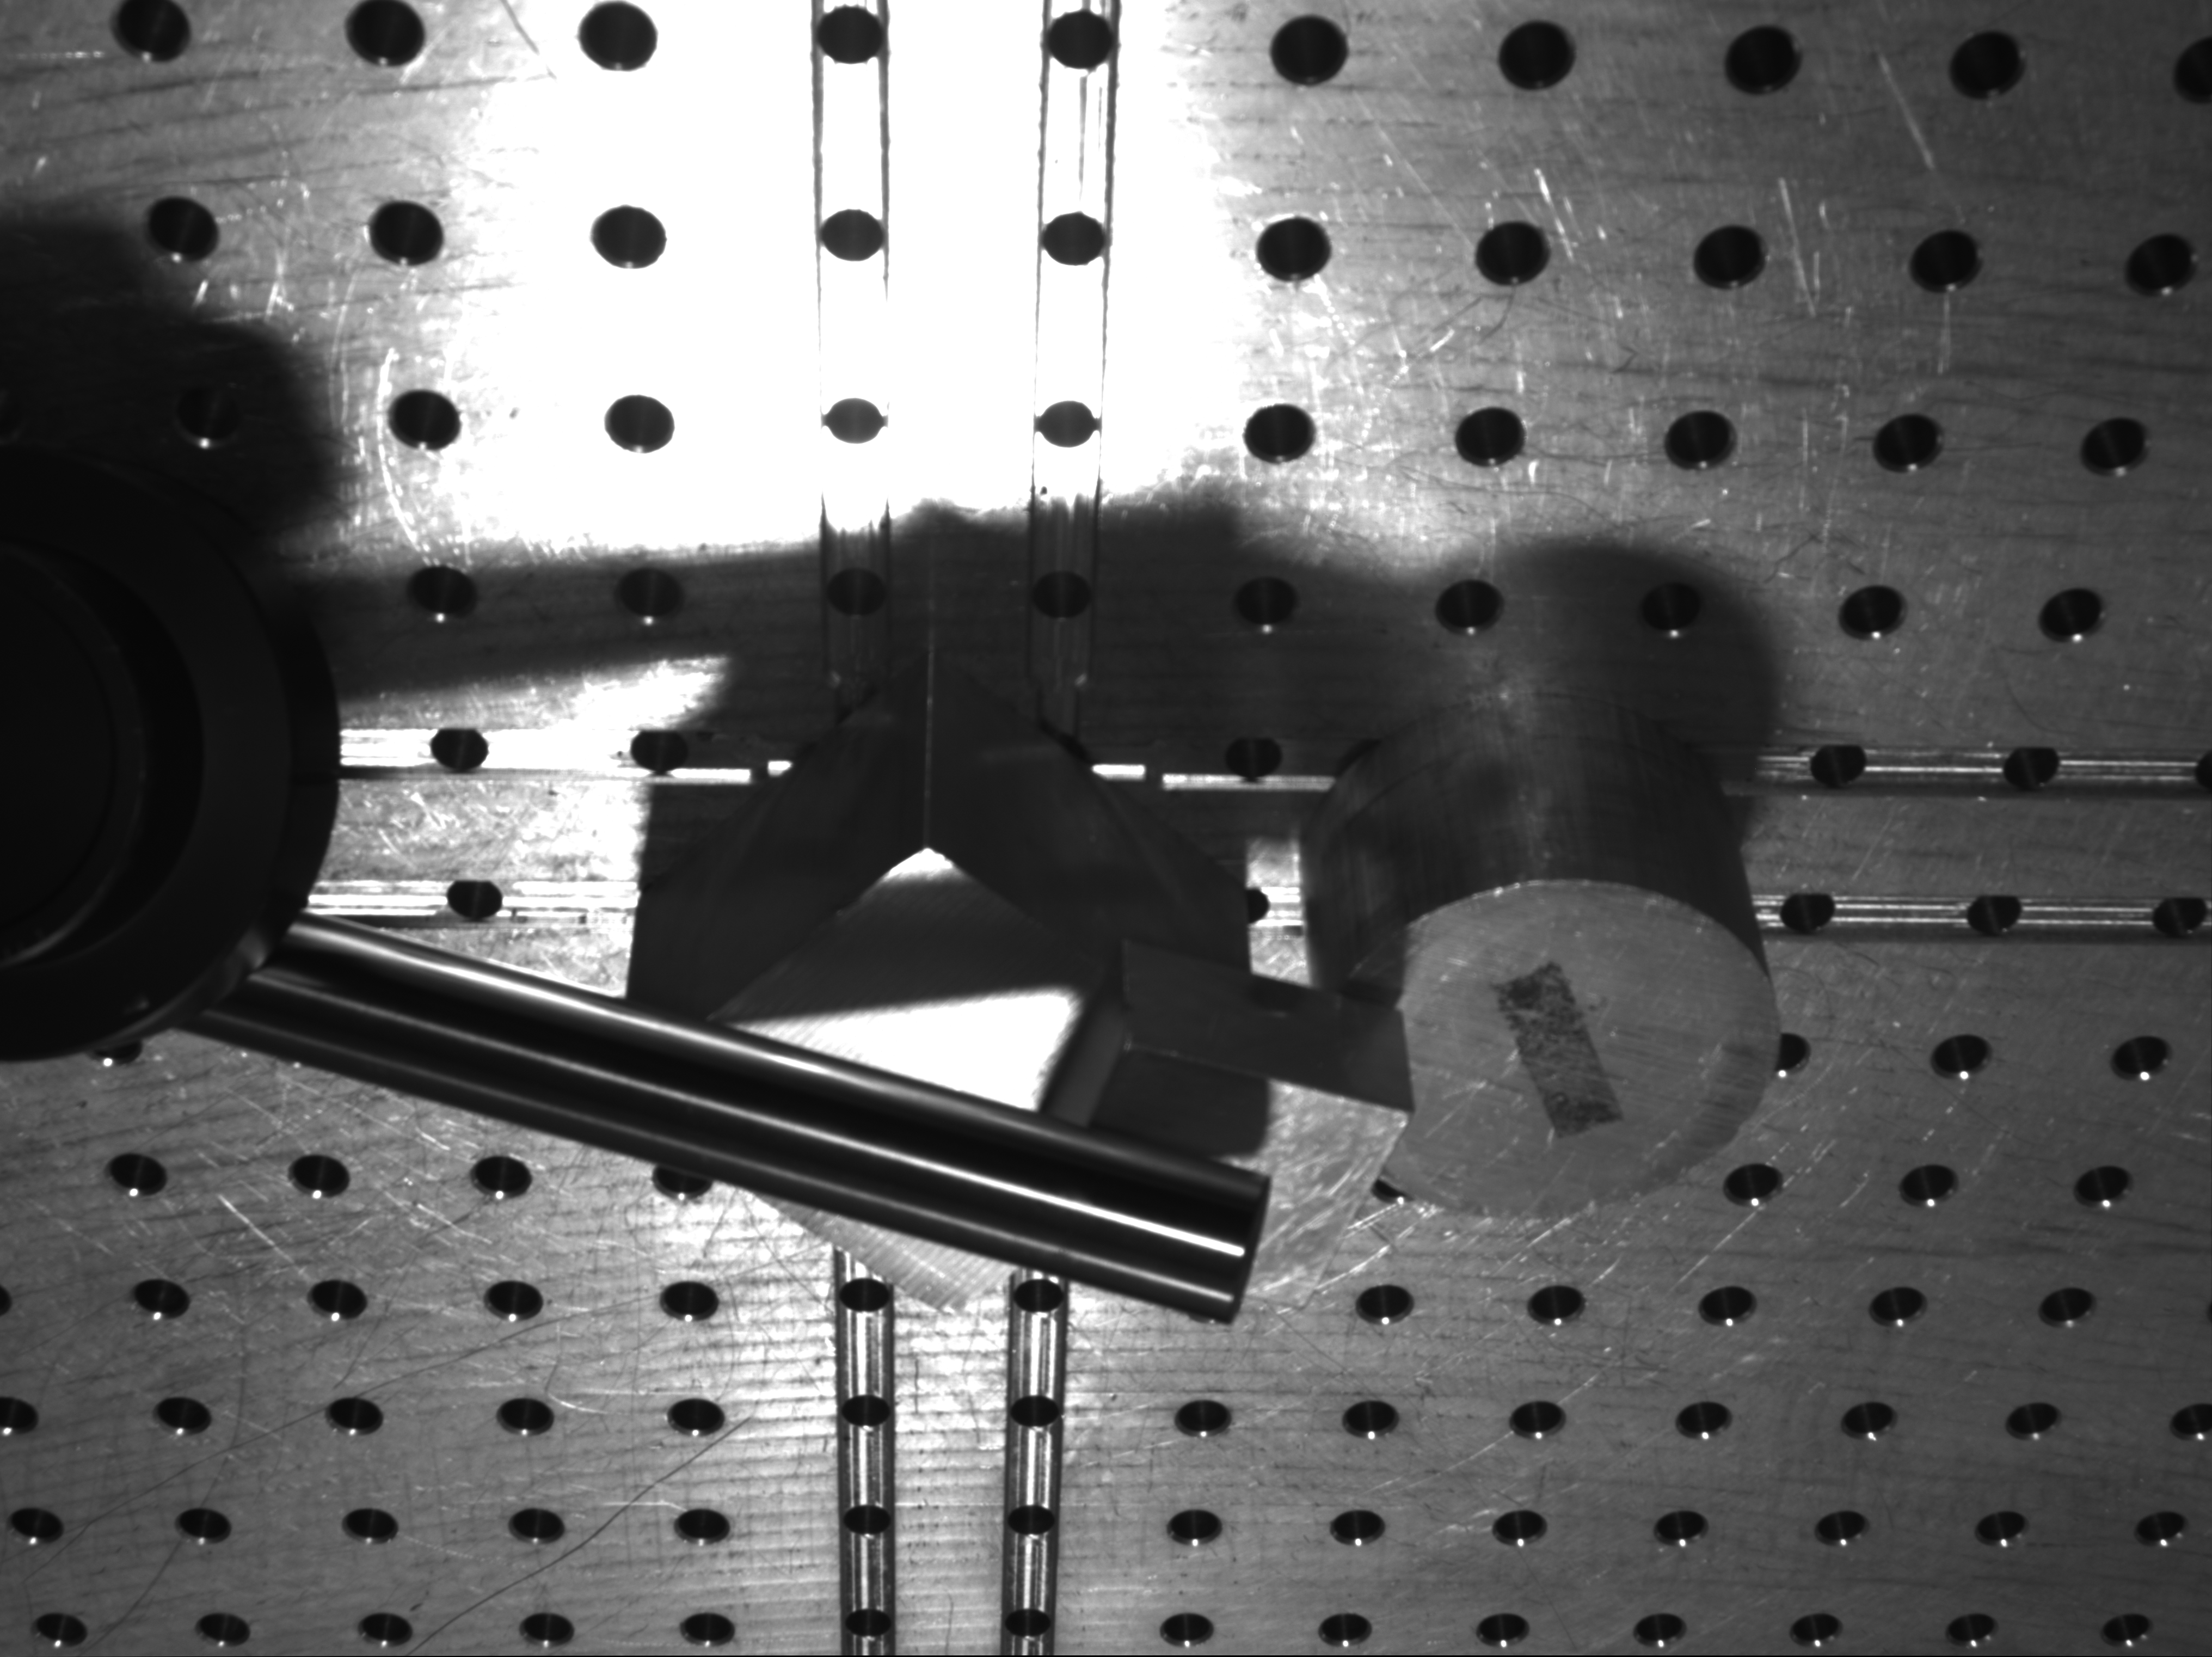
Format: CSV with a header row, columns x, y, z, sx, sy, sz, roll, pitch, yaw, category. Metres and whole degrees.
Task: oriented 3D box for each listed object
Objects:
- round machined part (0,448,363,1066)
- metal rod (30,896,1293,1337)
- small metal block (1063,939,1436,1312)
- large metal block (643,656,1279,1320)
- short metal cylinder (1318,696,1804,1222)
x,y,z,sx,sy,sz,roll,pitch,yaw,category
-0.172,-0.011,0.580,0.098,0.042,0.098,0,92,9,round machined part
-0.117,0.031,0.607,0.300,0.025,0.025,15,130,8,metal rod
0.022,0.051,0.616,0.050,0.025,0.050,14,128,-14,small metal block
-0.025,0.030,0.646,0.080,0.050,0.080,37,120,-28,large metal block
0.079,0.024,0.647,0.080,0.050,0.080,-1,130,-1,short metal cylinder
